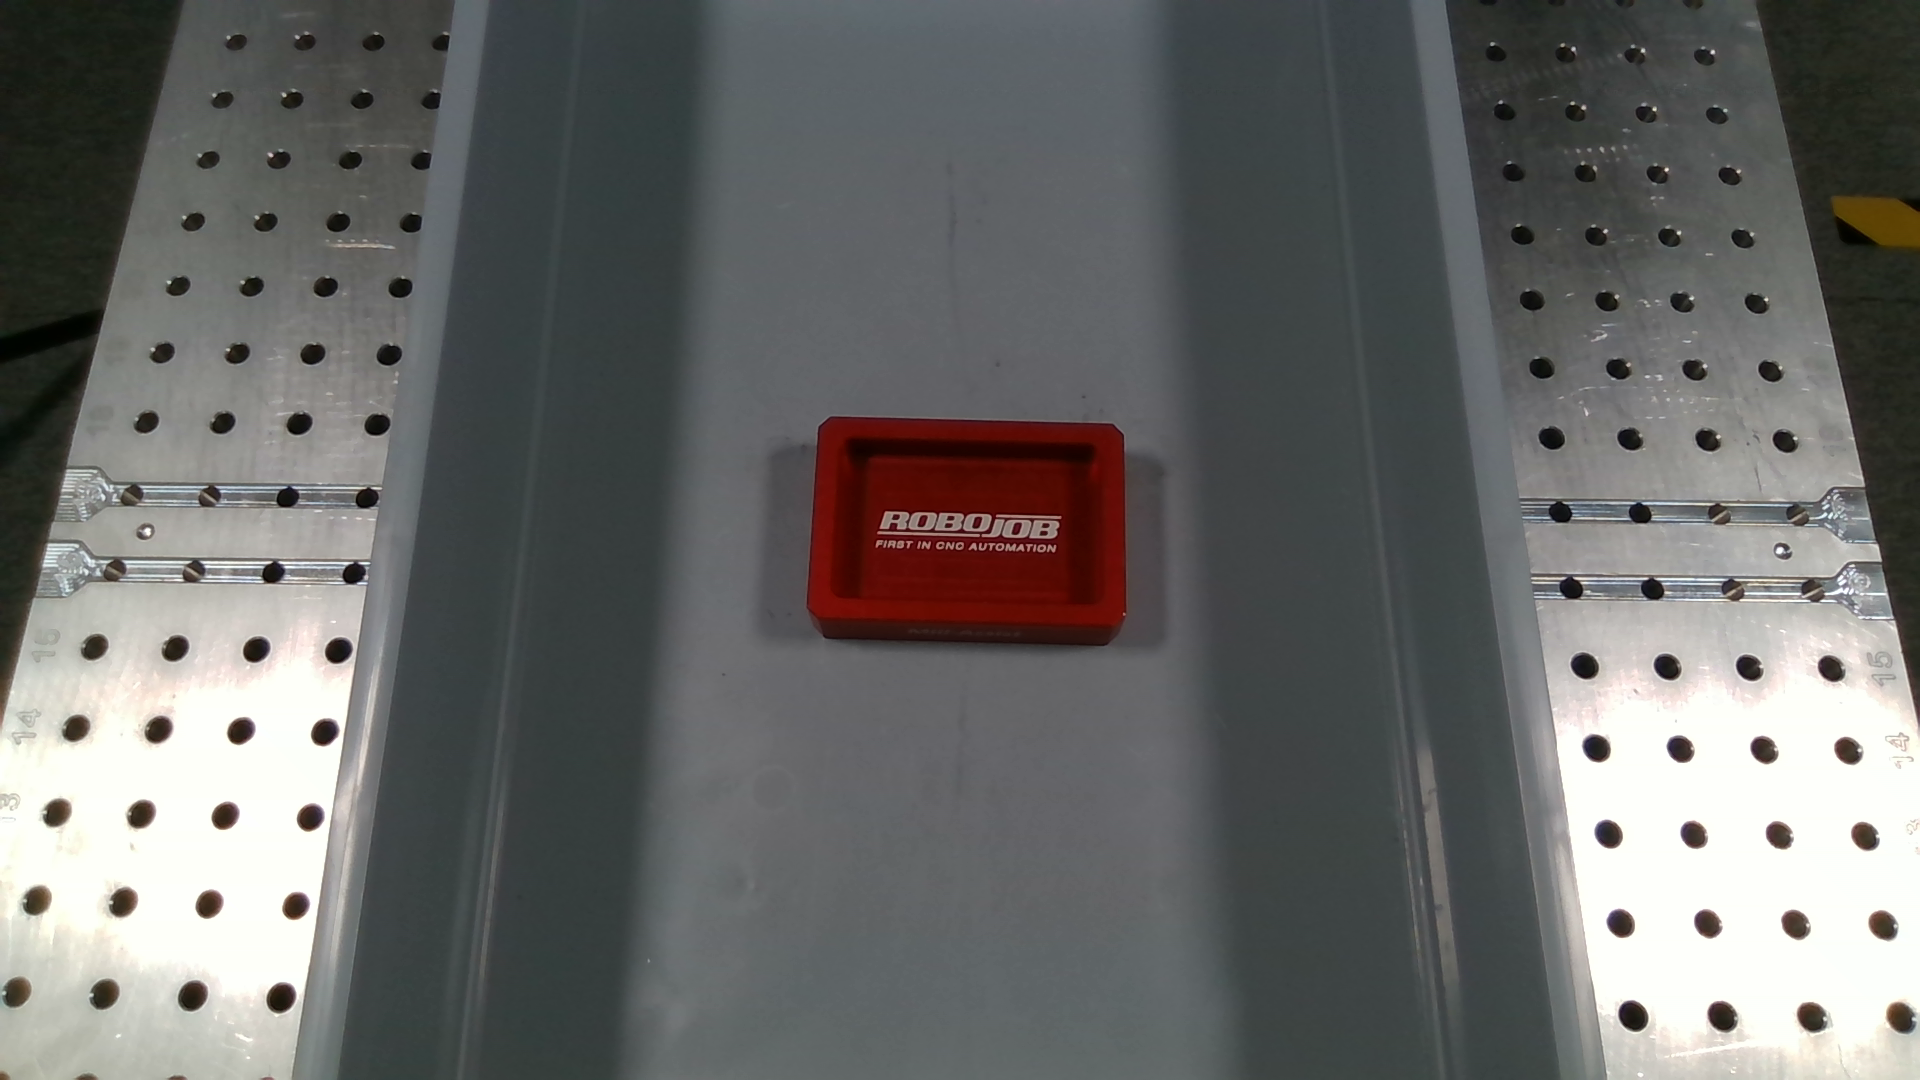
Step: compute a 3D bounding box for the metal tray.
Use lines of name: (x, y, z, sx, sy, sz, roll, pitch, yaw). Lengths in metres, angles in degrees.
metal tray: (0.003, -0.004, 0.584, 0.130, 0.030, 0.090, 2, 71, 0)
